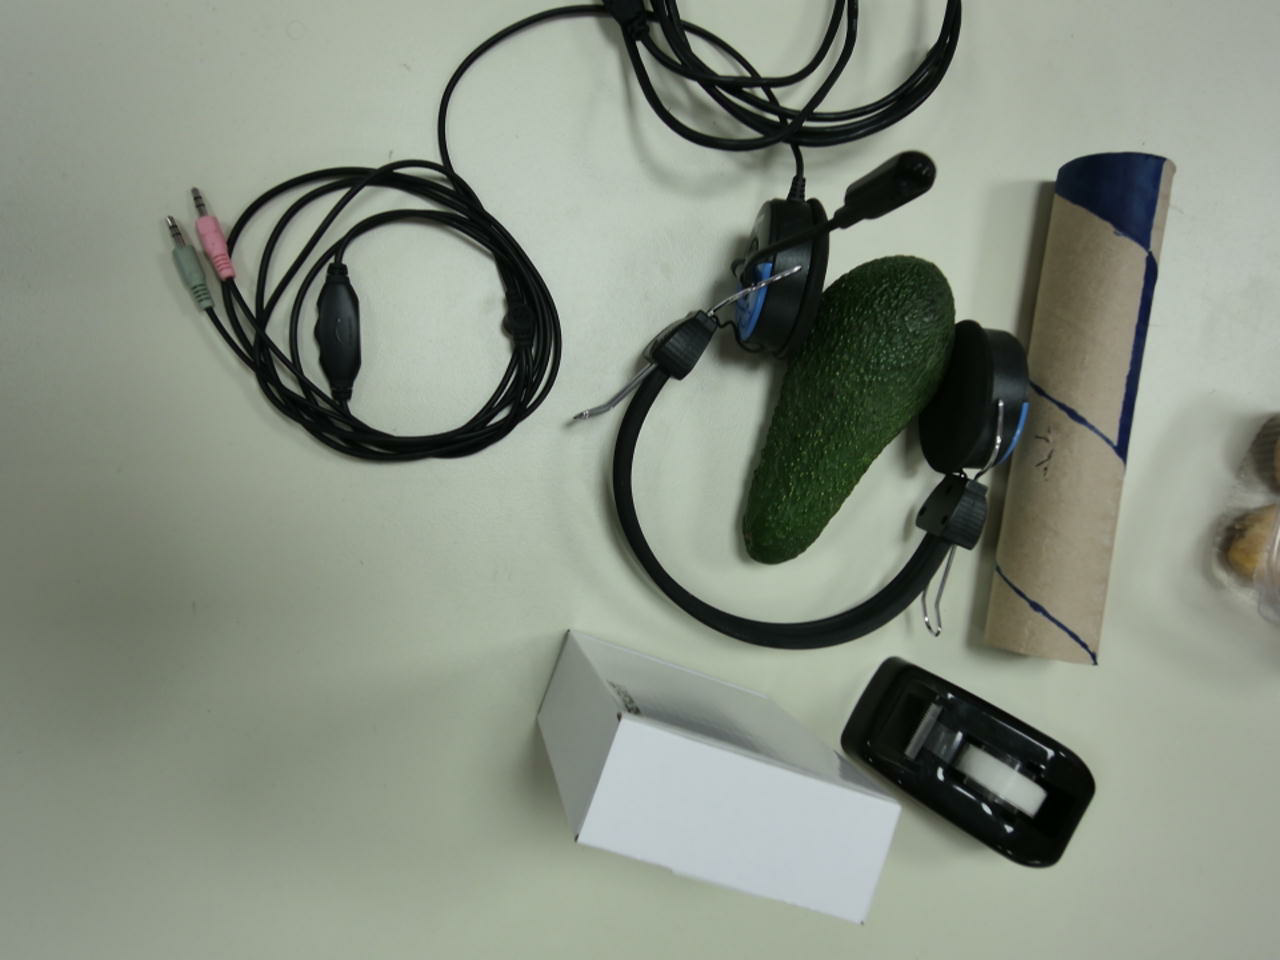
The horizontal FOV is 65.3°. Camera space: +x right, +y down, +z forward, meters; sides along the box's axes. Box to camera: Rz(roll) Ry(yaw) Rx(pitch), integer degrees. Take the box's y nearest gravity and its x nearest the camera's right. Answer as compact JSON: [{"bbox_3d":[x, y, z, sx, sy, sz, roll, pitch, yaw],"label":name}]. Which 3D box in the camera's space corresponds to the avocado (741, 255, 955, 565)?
[{"bbox_3d":[0.089,-0.026,0.415,0.063,0.067,0.141,16,87,-11],"label":"avocado"}]
